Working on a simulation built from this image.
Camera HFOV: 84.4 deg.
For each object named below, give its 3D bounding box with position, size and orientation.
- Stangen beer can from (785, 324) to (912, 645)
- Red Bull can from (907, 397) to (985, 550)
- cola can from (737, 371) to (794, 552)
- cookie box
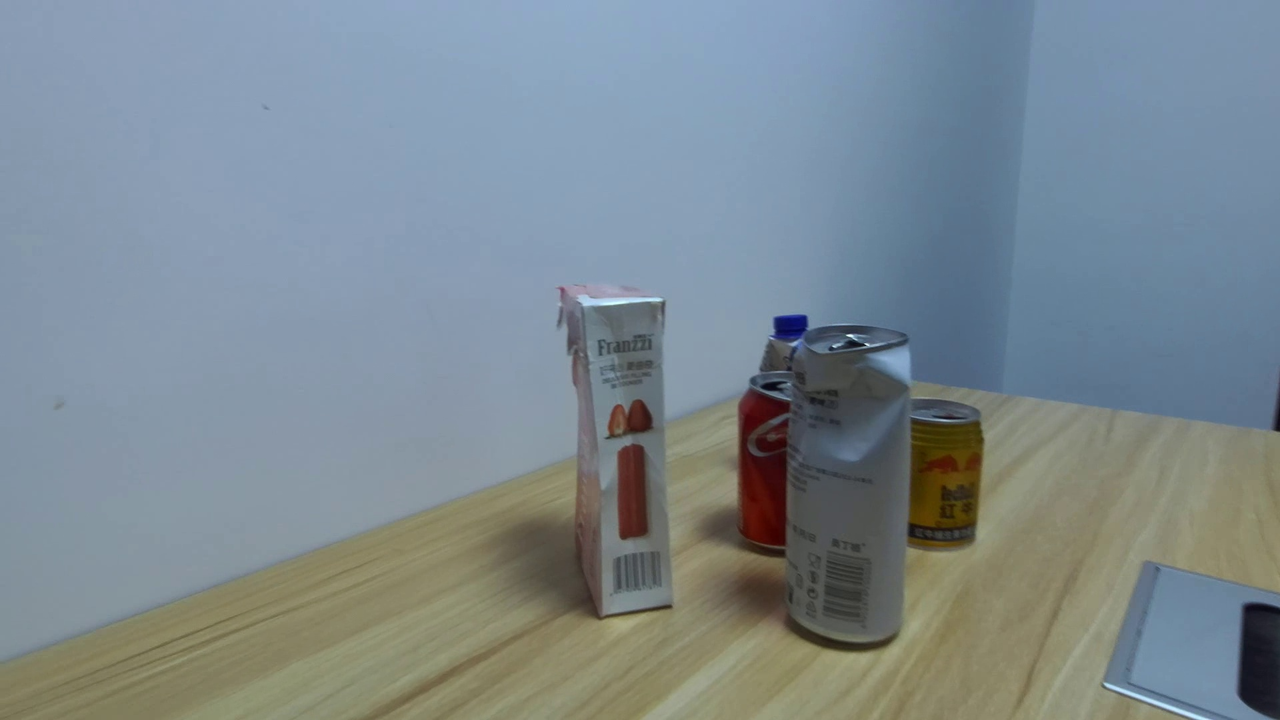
[{"bbox_3d":[0.112,0.067,0.382,0.066,0.166,0.066,1,13,11],"label":"Stangen beer can"},{"bbox_3d":[0.206,0.080,0.505,0.067,0.093,0.067,0,10,0],"label":"Red Bull can"},{"bbox_3d":[0.103,0.069,0.497,0.072,0.117,0.065,-3,12,-4],"label":"cola can"},{"bbox_3d":[-0.017,0.050,0.432,0.059,0.186,0.105,-2,11,-12],"label":"cookie box"}]
